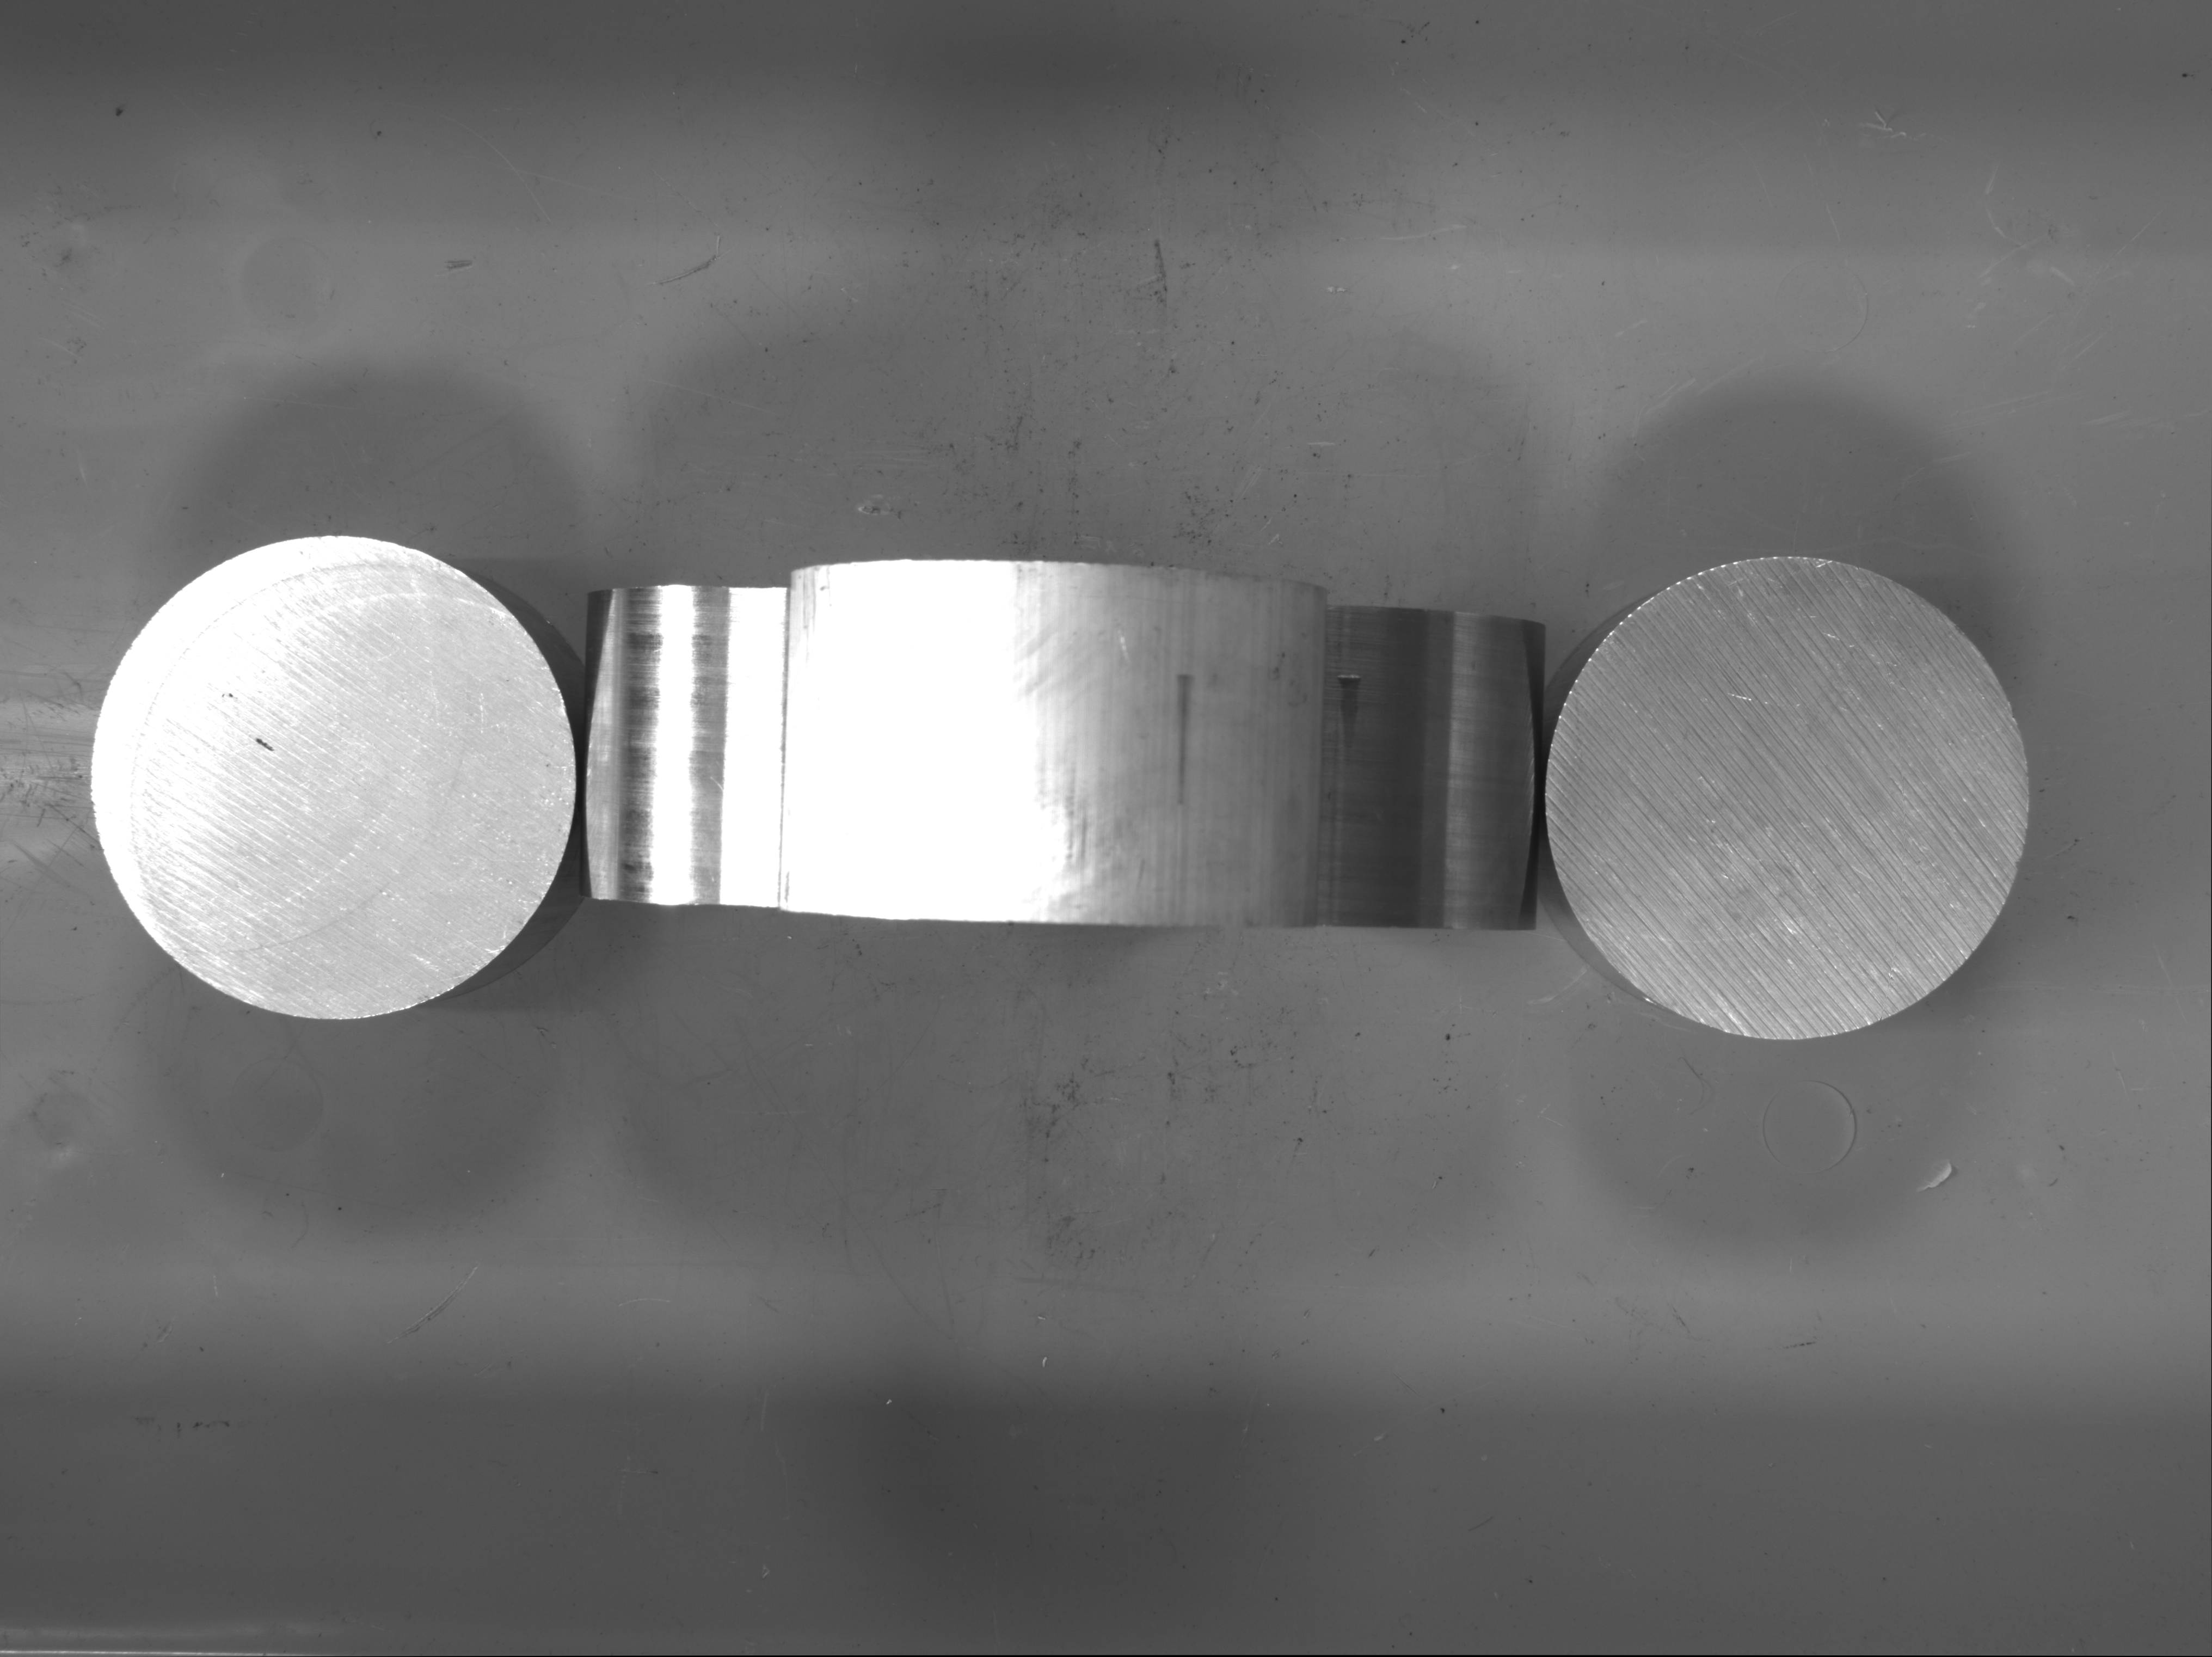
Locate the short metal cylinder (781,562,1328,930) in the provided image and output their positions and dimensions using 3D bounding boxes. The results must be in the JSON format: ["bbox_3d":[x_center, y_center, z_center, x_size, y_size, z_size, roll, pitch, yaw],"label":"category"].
[{"bbox_3d":[-0.008,-0.011,0.548,0.080,0.080,0.050,2,90,0],"label":"short metal cylinder"}]

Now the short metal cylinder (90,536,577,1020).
[{"bbox_3d":[-0.128,-0.008,0.631,0.080,0.050,0.080,0,90,0],"label":"short metal cylinder"}]

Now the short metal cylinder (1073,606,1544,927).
[{"bbox_3d":[0.033,-0.010,0.616,0.080,0.080,0.050,2,90,0],"label":"short metal cylinder"}]

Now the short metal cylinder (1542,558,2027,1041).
[{"bbox_3d":[0.113,-0.005,0.632,0.080,0.050,0.080,0,90,0],"label":"short metal cylinder"}]

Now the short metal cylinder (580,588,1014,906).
[{"bbox_3d":[-0.047,-0.012,0.616,0.080,0.080,0.050,2,90,0],"label":"short metal cylinder"}]
